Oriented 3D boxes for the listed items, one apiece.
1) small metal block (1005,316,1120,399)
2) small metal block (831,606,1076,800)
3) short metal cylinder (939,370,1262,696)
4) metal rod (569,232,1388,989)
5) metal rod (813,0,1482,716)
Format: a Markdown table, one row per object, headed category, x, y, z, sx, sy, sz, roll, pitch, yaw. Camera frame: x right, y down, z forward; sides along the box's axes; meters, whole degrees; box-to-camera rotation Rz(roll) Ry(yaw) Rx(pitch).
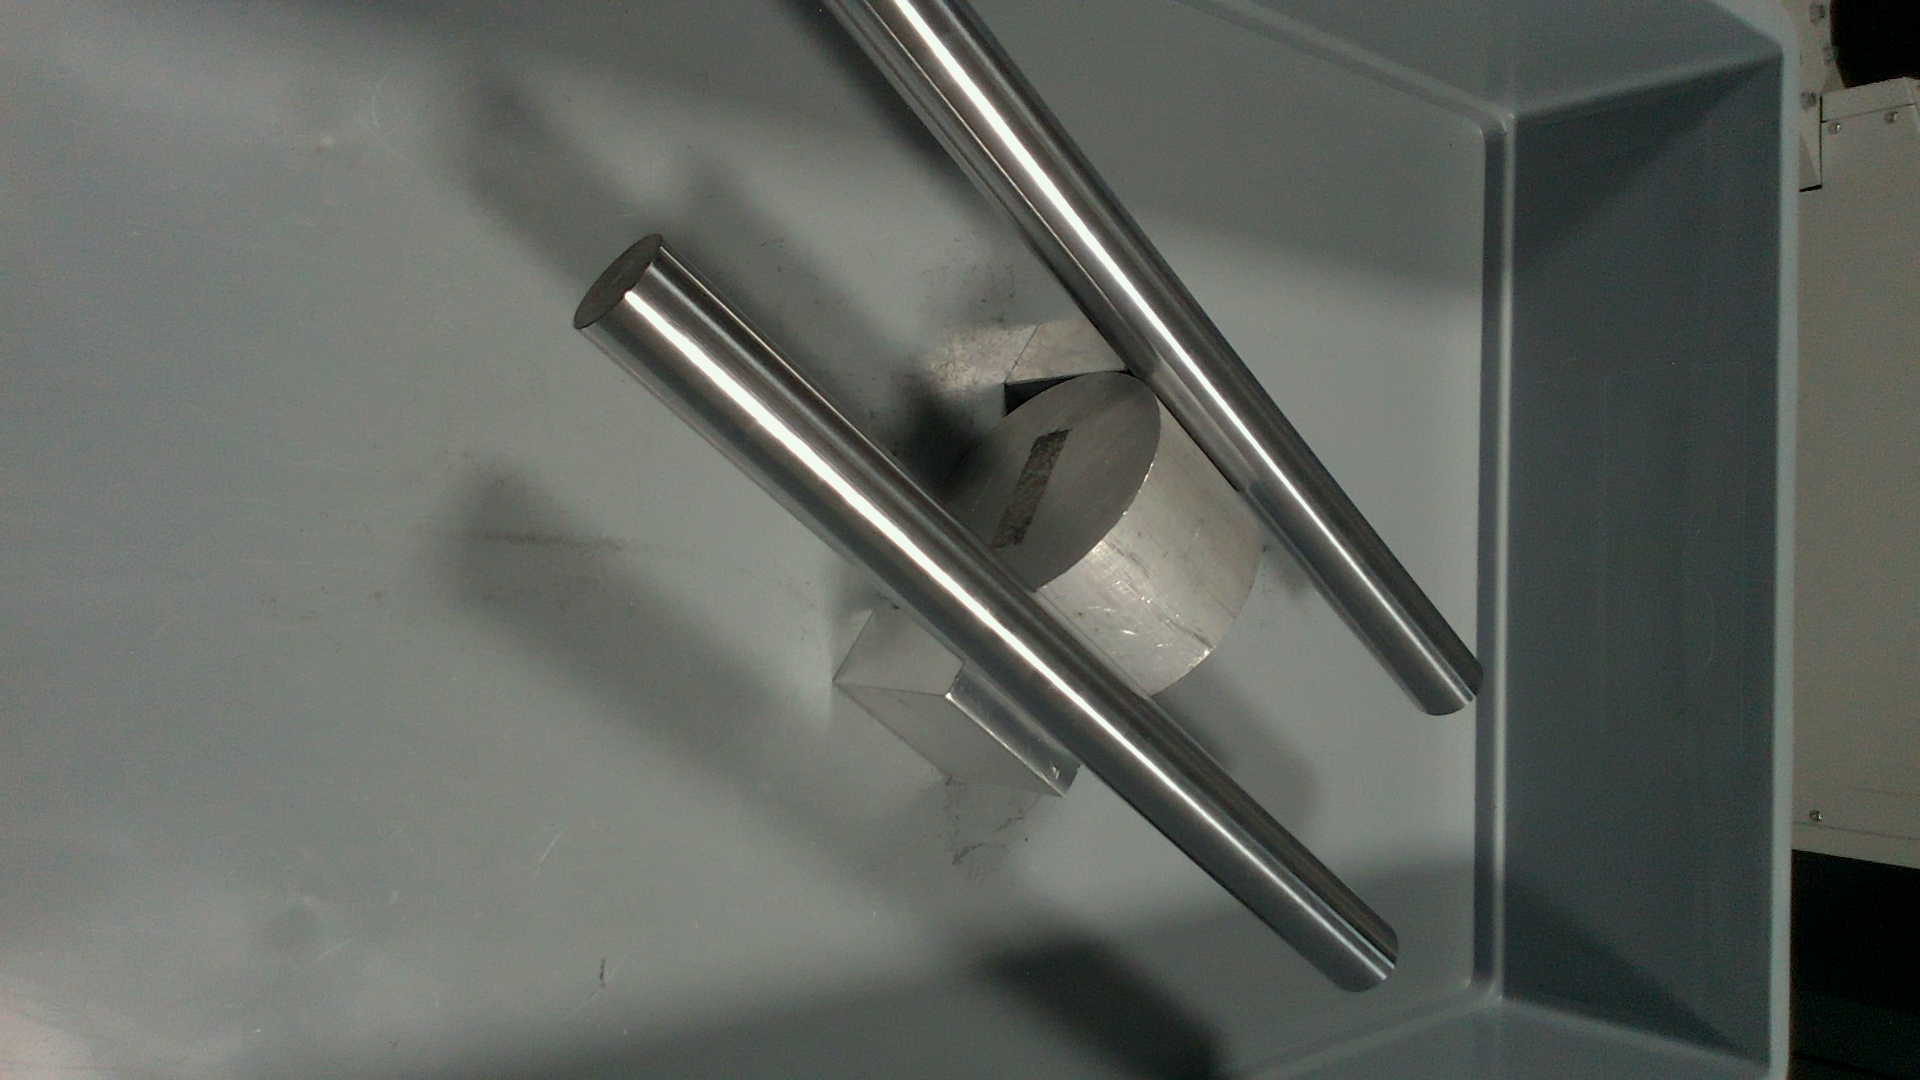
| category | x | y | z | sx | sy | sz | roll | pitch | yaw |
| --- | --- | --- | --- | --- | --- | --- | --- | --- | --- |
| small metal block | 0.051 | -0.042 | 0.413 | 0.050 | 0.050 | 0.025 | 44 | 64 | -31 |
| small metal block | 0.002 | 0.043 | 0.373 | 0.050 | 0.050 | 0.025 | 44 | 64 | -31 |
| short metal cylinder | 0.036 | 0.000 | 0.381 | 0.050 | 0.080 | 0.080 | 44 | 64 | -31 |
| metal rod | 0.026 | 0.038 | 0.346 | 0.301 | 0.025 | 0.025 | 43 | 64 | -31 |
| metal rod | 0.068 | -0.041 | 0.380 | 0.301 | 0.025 | 0.025 | 44 | 64 | -31 |
